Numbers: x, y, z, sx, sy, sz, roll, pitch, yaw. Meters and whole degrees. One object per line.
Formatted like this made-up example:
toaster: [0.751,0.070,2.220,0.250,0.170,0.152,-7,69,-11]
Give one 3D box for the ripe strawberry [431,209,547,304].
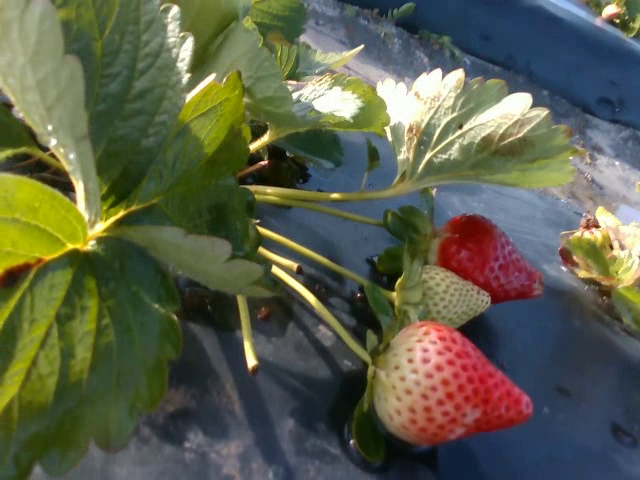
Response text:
ripe strawberry: [0.080,0.012,0.279,0.064,0.049,0.050,31,-16,-7]
